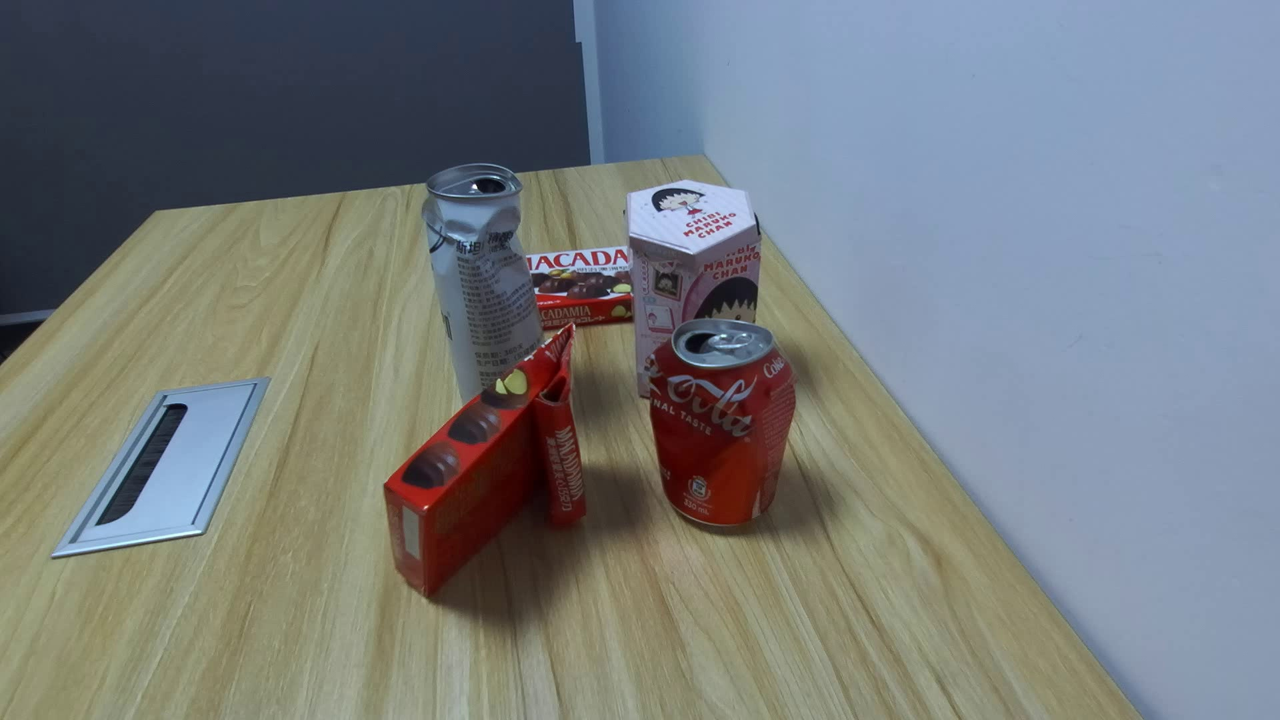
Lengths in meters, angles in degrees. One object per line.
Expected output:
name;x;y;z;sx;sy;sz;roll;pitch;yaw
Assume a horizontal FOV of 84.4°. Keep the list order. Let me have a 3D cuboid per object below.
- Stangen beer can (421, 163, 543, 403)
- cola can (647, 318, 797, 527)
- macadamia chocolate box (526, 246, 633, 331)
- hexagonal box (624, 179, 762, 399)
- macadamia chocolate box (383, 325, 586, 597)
Stangen beer can;-0.095;-0.036;0.459;0.066;0.166;0.065;-25;40;-31
cola can;0.046;0.035;0.389;0.066;0.112;0.069;-21;39;-24
macadamia chocolate box;-0.026;-0.066;0.617;0.187;0.027;0.102;-7;38;-5
hexagonal box;0.034;-0.043;0.482;0.092;0.135;0.084;-19;38;-23
macadamia chocolate box;-0.074;0.056;0.372;0.056;0.112;0.127;28;45;34
